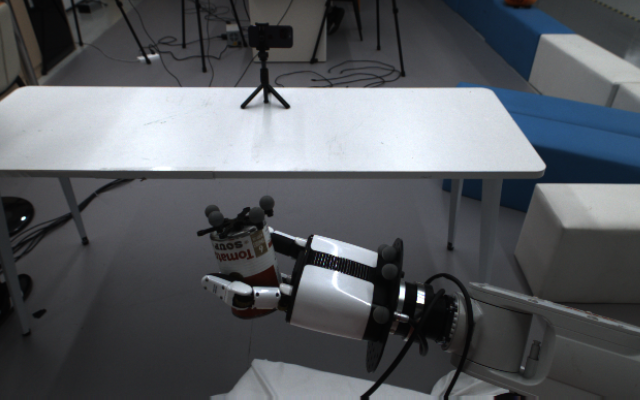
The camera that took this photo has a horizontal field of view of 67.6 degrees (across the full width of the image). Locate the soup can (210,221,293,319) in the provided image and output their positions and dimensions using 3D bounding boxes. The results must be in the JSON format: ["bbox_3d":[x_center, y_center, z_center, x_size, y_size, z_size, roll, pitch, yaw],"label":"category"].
[{"bbox_3d":[-0.080,0.077,0.564,0.067,0.101,0.067,-12,17,4],"label":"soup can"}]
